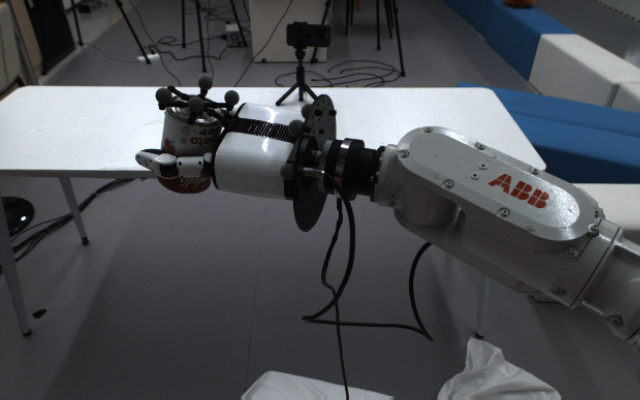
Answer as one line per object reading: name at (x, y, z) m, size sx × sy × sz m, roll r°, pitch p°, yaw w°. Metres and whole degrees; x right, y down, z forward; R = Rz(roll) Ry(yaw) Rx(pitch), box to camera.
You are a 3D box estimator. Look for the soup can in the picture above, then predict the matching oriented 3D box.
soup can at (-0.157, -0.065, 0.587) m, size 0.067 × 0.101 × 0.067 m, roll 14°, pitch 35°, yaw -10°
